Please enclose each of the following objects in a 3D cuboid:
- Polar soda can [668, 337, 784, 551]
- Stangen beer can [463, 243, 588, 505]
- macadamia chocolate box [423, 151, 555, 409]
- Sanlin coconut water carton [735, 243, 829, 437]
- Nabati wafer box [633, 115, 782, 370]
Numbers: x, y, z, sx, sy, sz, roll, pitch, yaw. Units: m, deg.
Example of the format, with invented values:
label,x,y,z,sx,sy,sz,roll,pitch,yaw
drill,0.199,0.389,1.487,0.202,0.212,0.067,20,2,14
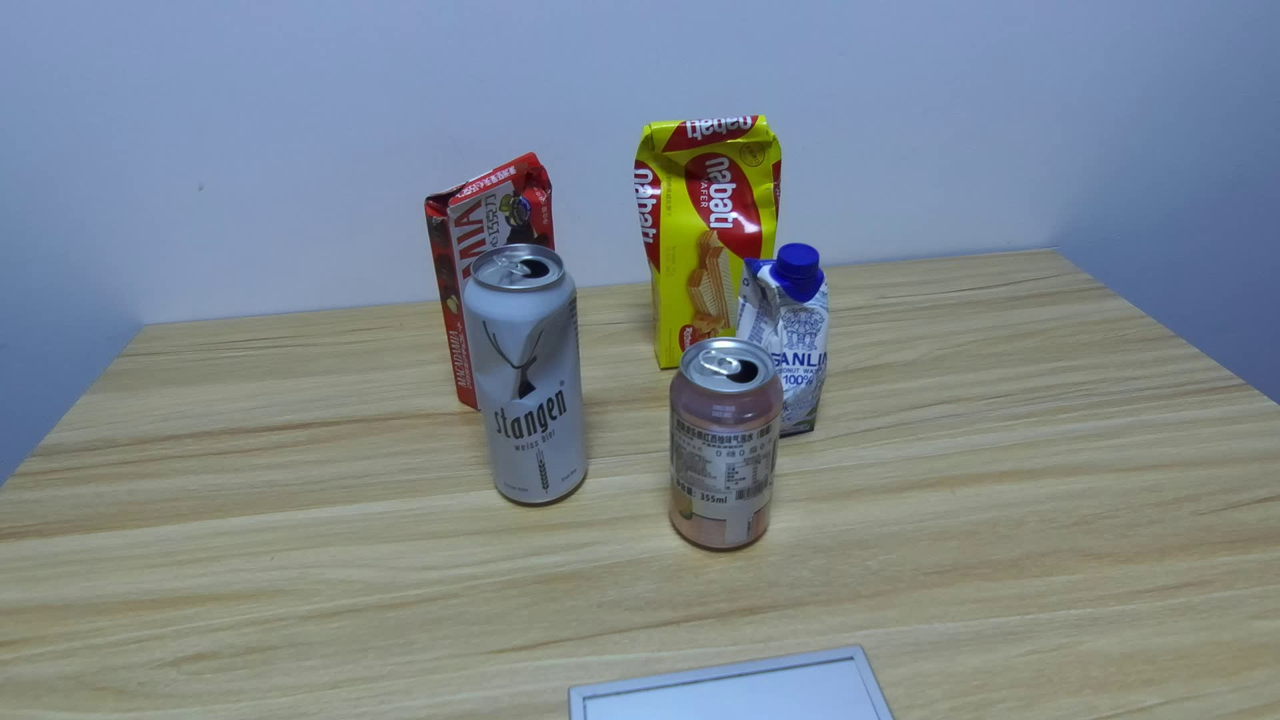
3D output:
label,x,y,z,sx,sy,sz,roll,pitch,yaw
Polar soda can,0.051,0.053,0.435,0.067,0.126,0.067,-1,33,1
Stangen beer can,-0.070,0.013,0.459,0.070,0.173,0.069,-8,35,-8
macadamia chocolate box,-0.107,-0.059,0.553,0.027,0.187,0.103,29,45,31
Sanlin coconut water carton,0.105,-0.018,0.522,0.057,0.145,0.068,-6,25,-19
Nabati wafer box,0.056,-0.090,0.574,0.113,0.205,0.042,-6,32,-4
